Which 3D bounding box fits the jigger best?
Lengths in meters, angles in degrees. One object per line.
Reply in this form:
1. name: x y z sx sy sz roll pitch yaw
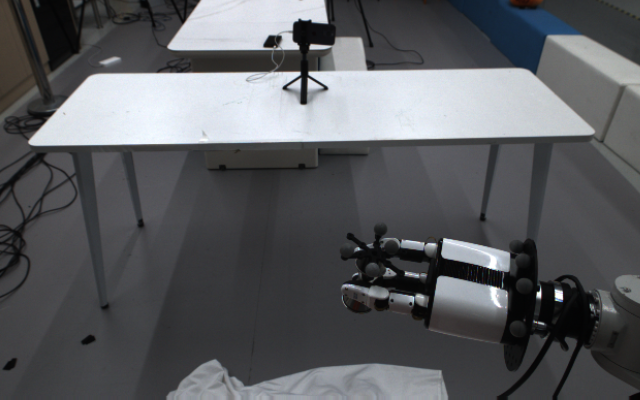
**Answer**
1. jigger: 0.057 0.106 0.624 0.043 0.071 0.043 10 35 -7
